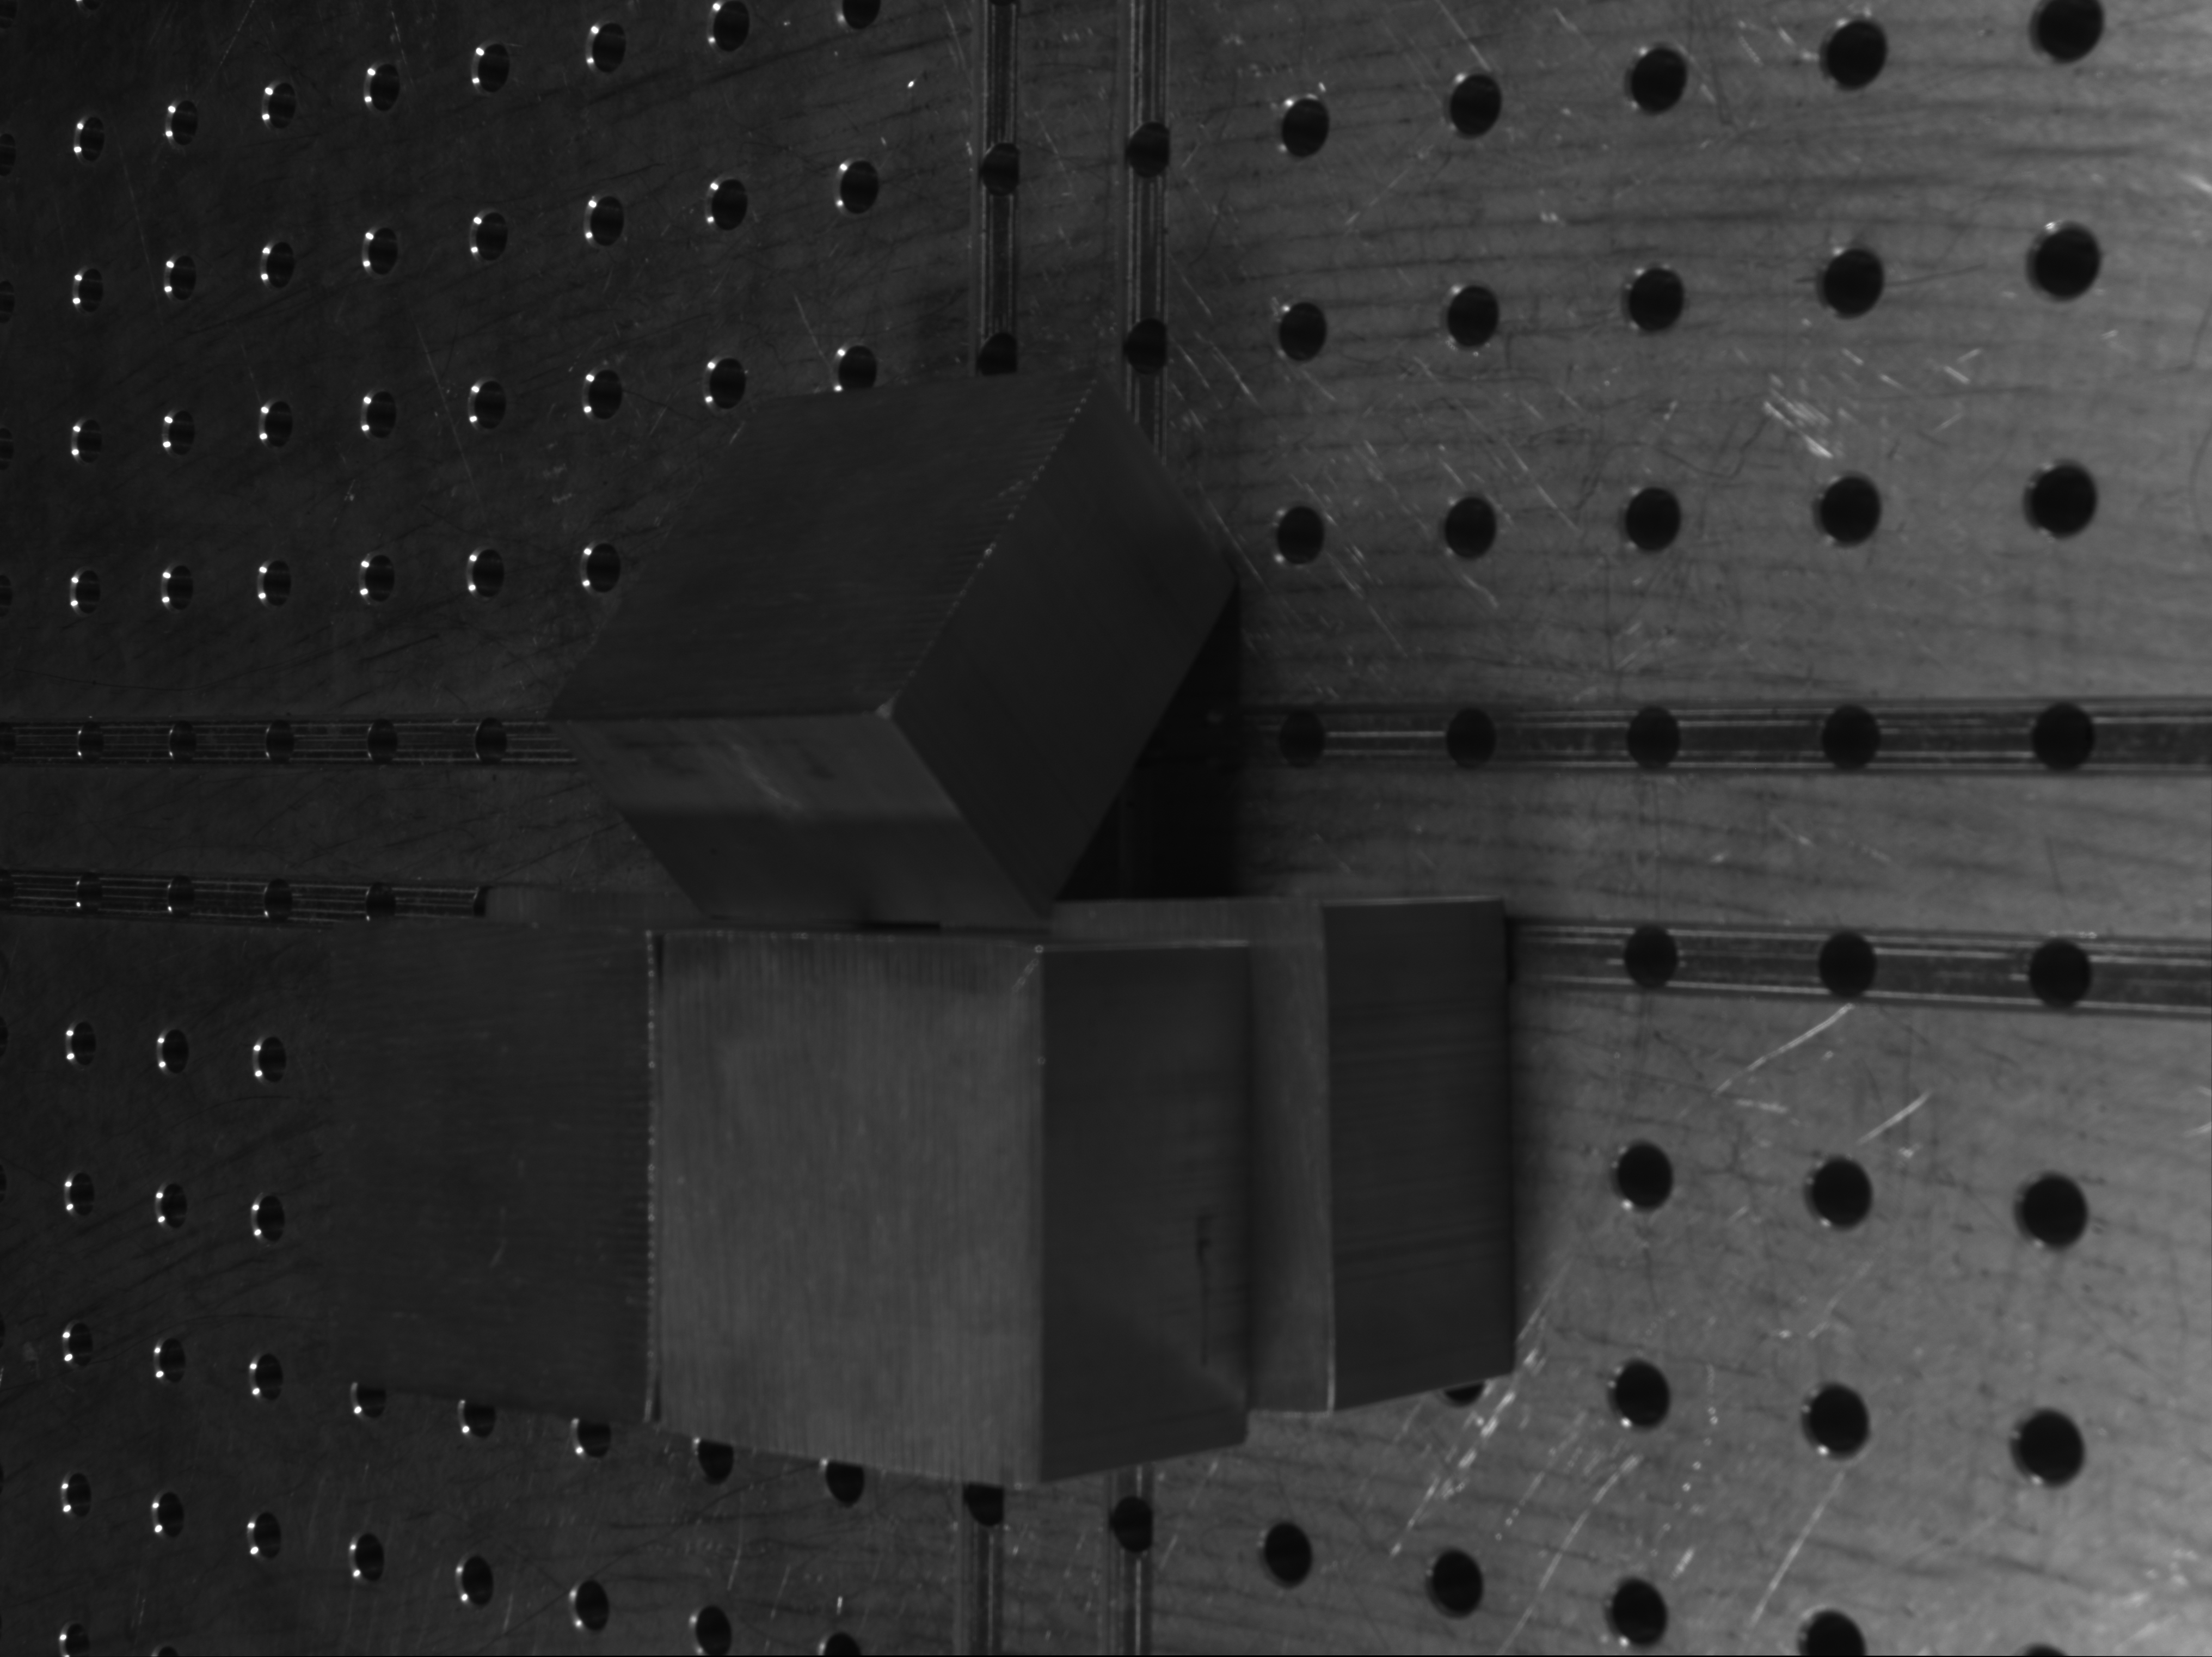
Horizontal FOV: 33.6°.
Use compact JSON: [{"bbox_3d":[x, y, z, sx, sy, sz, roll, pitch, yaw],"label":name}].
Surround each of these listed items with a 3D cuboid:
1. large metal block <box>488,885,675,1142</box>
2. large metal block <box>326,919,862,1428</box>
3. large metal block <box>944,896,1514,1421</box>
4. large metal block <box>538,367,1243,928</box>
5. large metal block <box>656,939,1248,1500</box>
[{"bbox_3d":[-0.070,0.052,0.681,0.080,0.050,0.080,2,91,39],"label":"large metal block"},{"bbox_3d":[-0.088,0.056,0.627,0.080,0.050,0.080,0,90,39],"label":"large metal block"},{"bbox_3d":[0.020,0.052,0.606,0.080,0.050,0.080,-1,89,39],"label":"large metal block"},{"bbox_3d":[-0.036,-0.030,0.626,0.080,0.050,0.080,0,48,39],"label":"large metal block"},{"bbox_3d":[-0.025,0.058,0.576,0.080,0.050,0.080,0,90,39],"label":"large metal block"}]
